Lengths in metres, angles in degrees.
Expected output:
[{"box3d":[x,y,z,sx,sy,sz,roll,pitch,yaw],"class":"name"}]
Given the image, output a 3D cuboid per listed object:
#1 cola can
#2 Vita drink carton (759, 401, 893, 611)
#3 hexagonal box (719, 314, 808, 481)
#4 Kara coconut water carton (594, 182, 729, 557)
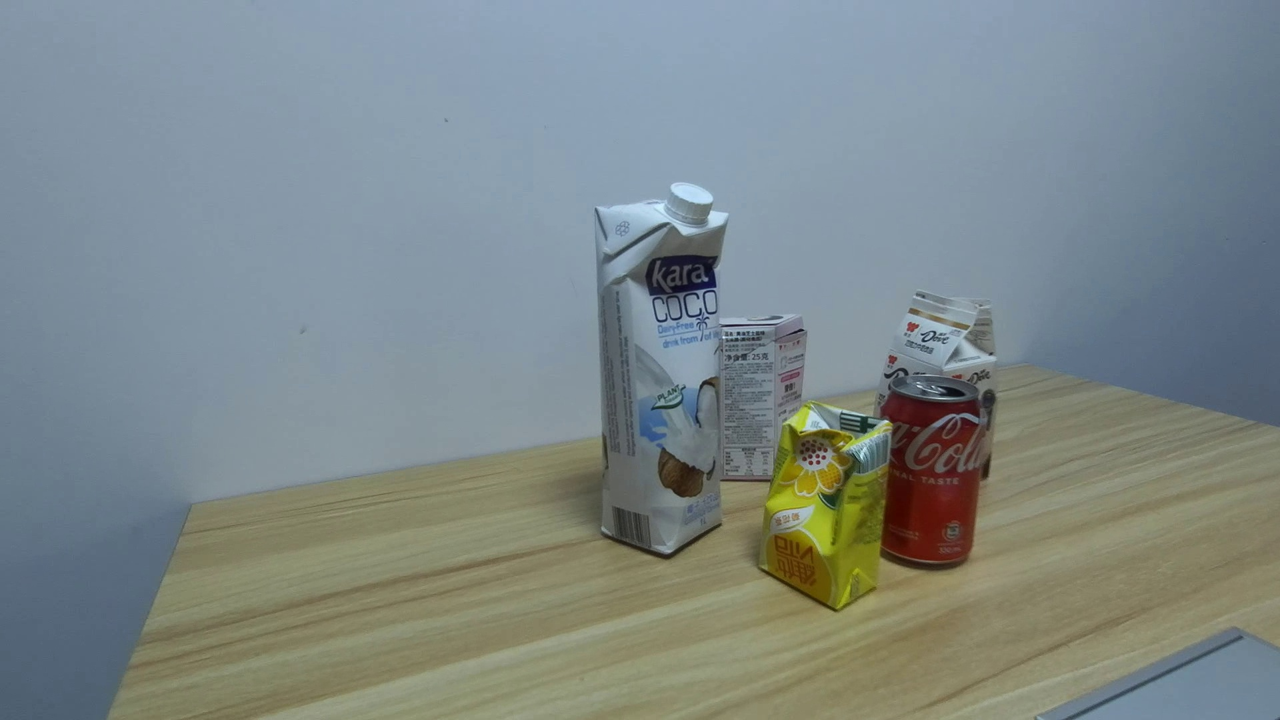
[{"box3d":[0.192,0.071,0.473,0.068,0.120,0.068,1,16,0],"class":"cola can"},{"box3d":[0.111,0.087,0.435,0.047,0.109,0.071,-9,15,-38],"class":"Vita drink carton"},{"box3d":[0.093,0.028,0.611,0.084,0.135,0.092,9,17,34],"class":"hexagonal box"},{"box3d":[0.017,0.005,0.489,0.071,0.244,0.100,10,19,38],"class":"Kara coconut water carton"}]
